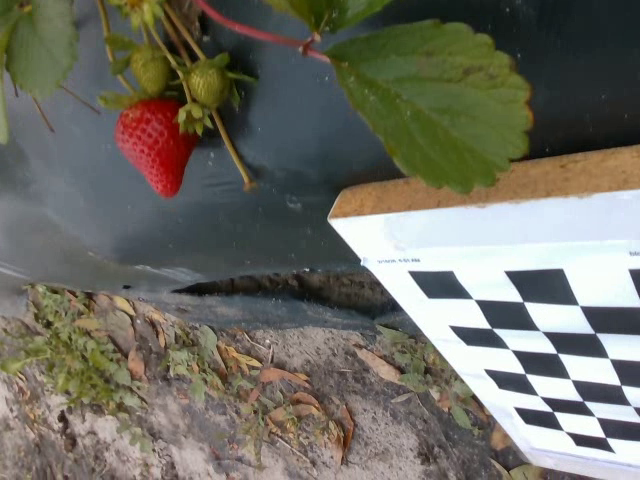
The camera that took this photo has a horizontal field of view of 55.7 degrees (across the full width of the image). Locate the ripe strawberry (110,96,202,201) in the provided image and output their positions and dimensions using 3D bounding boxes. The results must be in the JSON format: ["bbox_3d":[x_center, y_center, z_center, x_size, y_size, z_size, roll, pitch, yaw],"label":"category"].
[{"bbox_3d":[-0.022,-0.012,0.082,0.018,0.017,0.014,-9,4,29],"label":"ripe strawberry"}]
